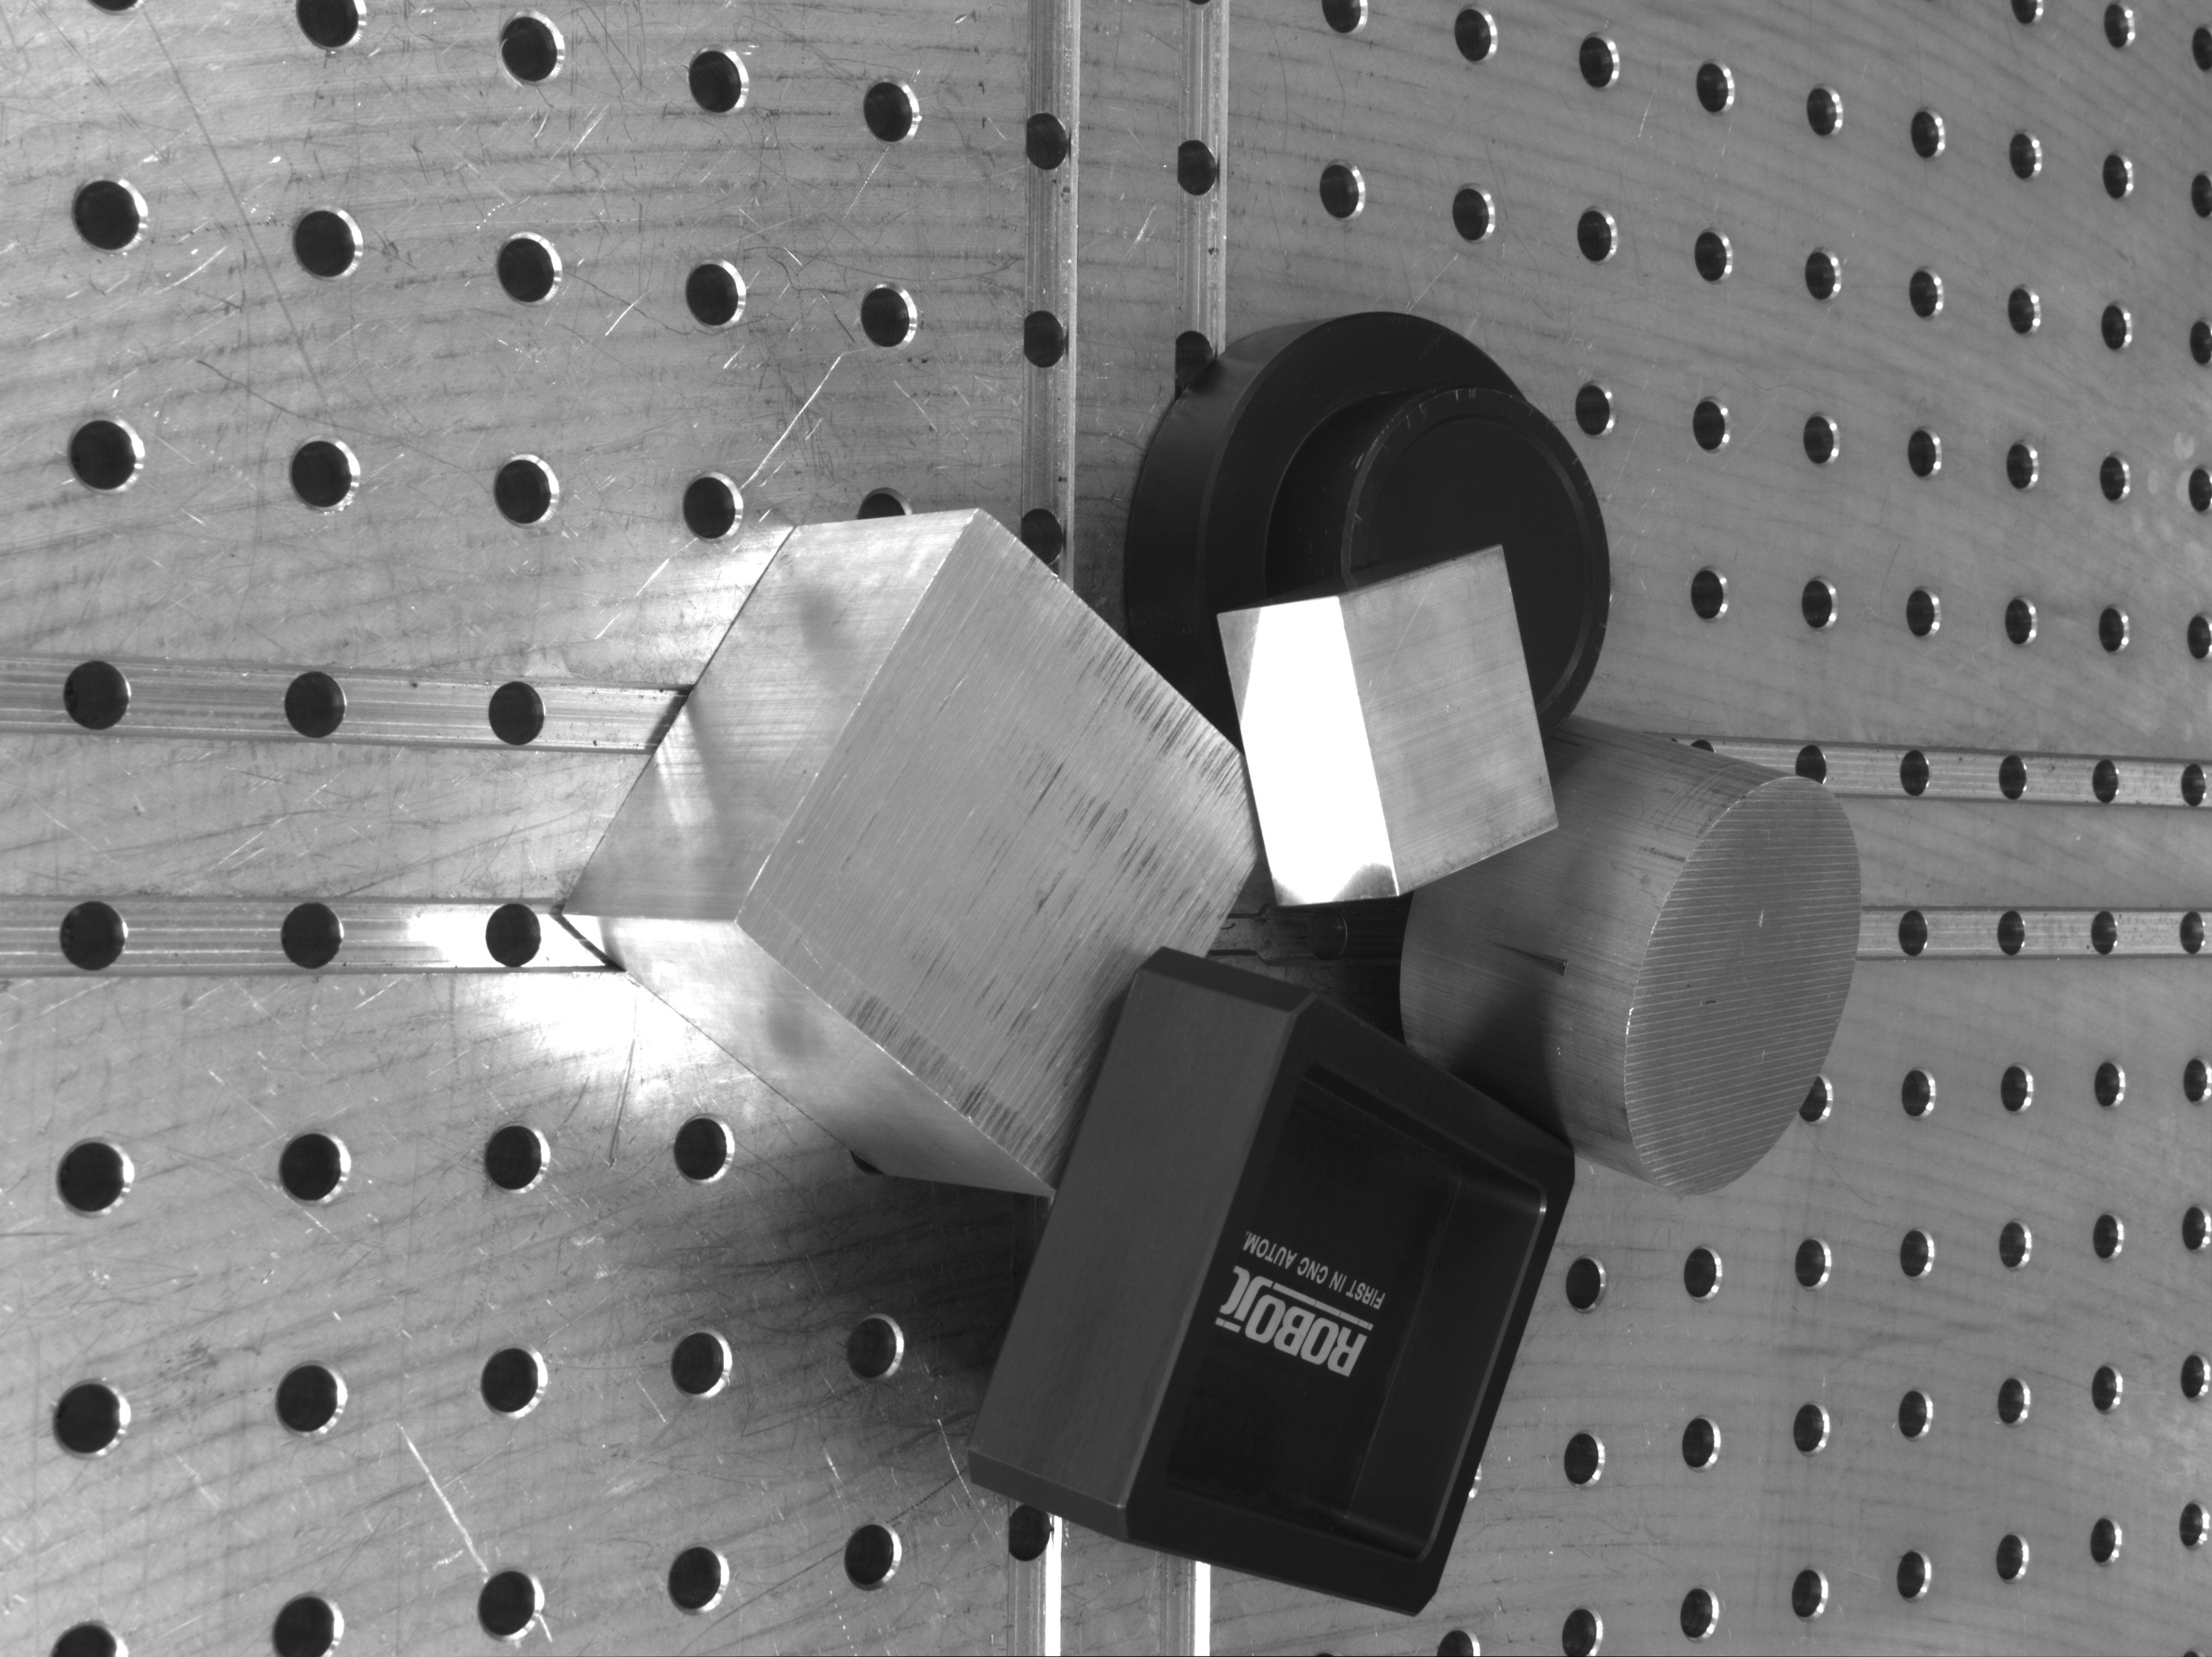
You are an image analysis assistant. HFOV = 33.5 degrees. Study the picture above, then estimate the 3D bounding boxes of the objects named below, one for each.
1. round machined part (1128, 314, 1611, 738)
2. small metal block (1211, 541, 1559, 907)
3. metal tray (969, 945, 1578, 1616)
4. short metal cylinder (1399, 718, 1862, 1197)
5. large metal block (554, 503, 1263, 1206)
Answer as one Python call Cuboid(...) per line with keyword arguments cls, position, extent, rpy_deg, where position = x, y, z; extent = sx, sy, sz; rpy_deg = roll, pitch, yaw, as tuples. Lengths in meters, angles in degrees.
Cuboid(cls="round machined part", position=(0.054, -0.045, 0.673), extent=(0.098, 0.042, 0.098), rpy_deg=(0, 90, -40))
Cuboid(cls="small metal block", position=(0.048, -0.018, 0.619), extent=(0.050, 0.025, 0.050), rpy_deg=(-20, 100, -49))
Cuboid(cls="metal tray", position=(0.033, 0.081, 0.626), extent=(0.130, 0.030, 0.090), rpy_deg=(32, 76, -58))
Cuboid(cls="short metal cylinder", position=(0.099, 0.023, 0.691), extent=(0.080, 0.050, 0.080), rpy_deg=(-22, 120, -44))
Cuboid(cls="large metal block", position=(-0.029, 0.005, 0.599), extent=(0.080, 0.050, 0.080), rpy_deg=(43, 64, -31))
